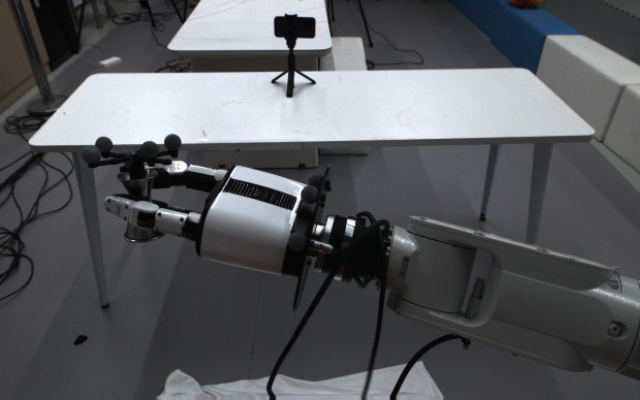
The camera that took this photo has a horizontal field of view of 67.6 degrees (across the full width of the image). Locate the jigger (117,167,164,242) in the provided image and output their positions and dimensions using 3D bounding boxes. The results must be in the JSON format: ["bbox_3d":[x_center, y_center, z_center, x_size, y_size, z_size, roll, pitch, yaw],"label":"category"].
[{"bbox_3d":[-0.190,0.005,0.514,0.043,0.071,0.043,0,22,0],"label":"jigger"}]
